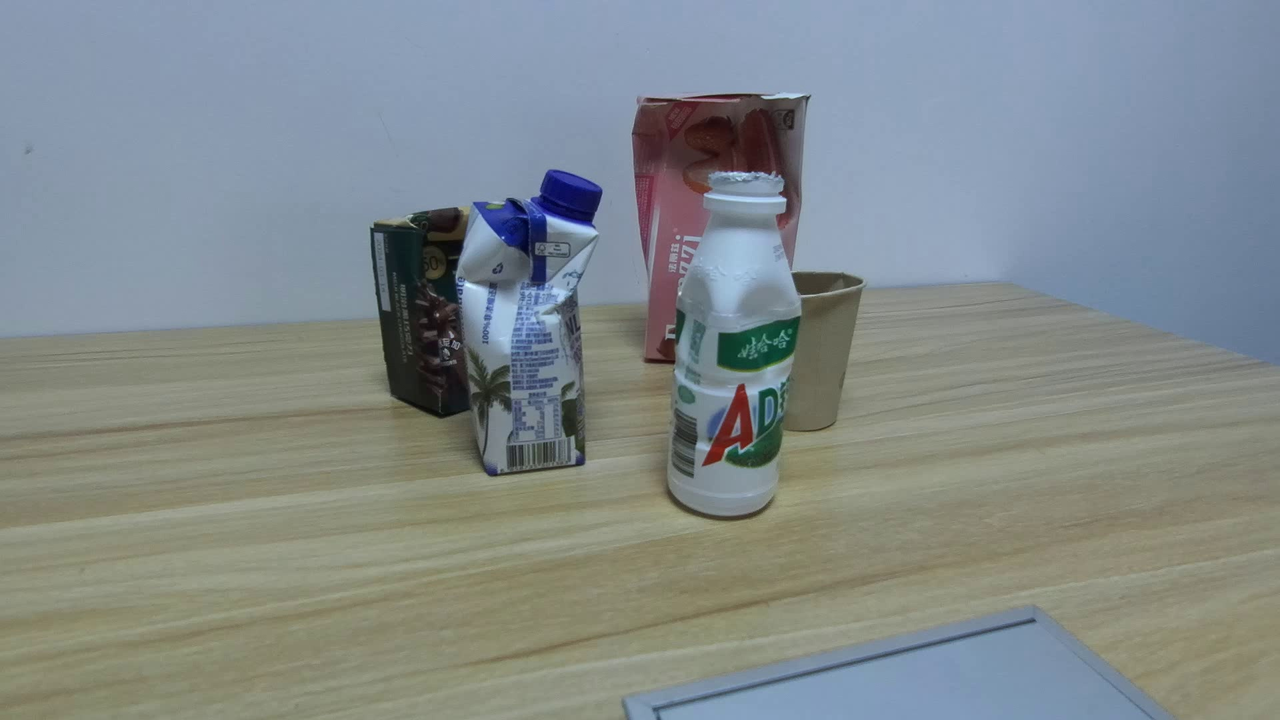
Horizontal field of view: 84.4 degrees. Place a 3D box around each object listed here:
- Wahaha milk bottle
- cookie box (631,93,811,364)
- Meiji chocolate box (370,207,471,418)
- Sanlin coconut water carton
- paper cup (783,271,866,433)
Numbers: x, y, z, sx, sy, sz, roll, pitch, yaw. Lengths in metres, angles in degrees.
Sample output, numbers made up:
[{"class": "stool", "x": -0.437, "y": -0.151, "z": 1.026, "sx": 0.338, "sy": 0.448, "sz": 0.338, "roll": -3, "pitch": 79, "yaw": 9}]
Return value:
[{"class": "Wahaha milk bottle", "x": 0.045, "y": 0.001, "z": 0.336, "sx": 0.055, "sy": 0.149, "sz": 0.055, "roll": 6, "pitch": -3, "yaw": 1}, {"class": "cookie box", "x": 0.050, "y": -0.088, "z": 0.493, "sx": 0.118, "sy": 0.184, "sz": 0.055, "roll": 3, "pitch": 19, "yaw": 8}, {"class": "Meiji chocolate box", "x": -0.102, "y": -0.035, "z": 0.452, "sx": 0.058, "sy": 0.110, "sz": 0.114, "roll": 9, "pitch": 17, "yaw": 38}, {"class": "Sanlin coconut water carton", "x": -0.055, "y": -0.019, "z": 0.351, "sx": 0.070, "sy": 0.143, "sz": 0.060, "roll": -4, "pitch": 22, "yaw": -18}, {"class": "paper cup", "x": 0.096, "y": -0.006, "z": 0.415, "sx": 0.072, "sy": 0.084, "sz": 0.066, "roll": -1, "pitch": 19, "yaw": -6}]
